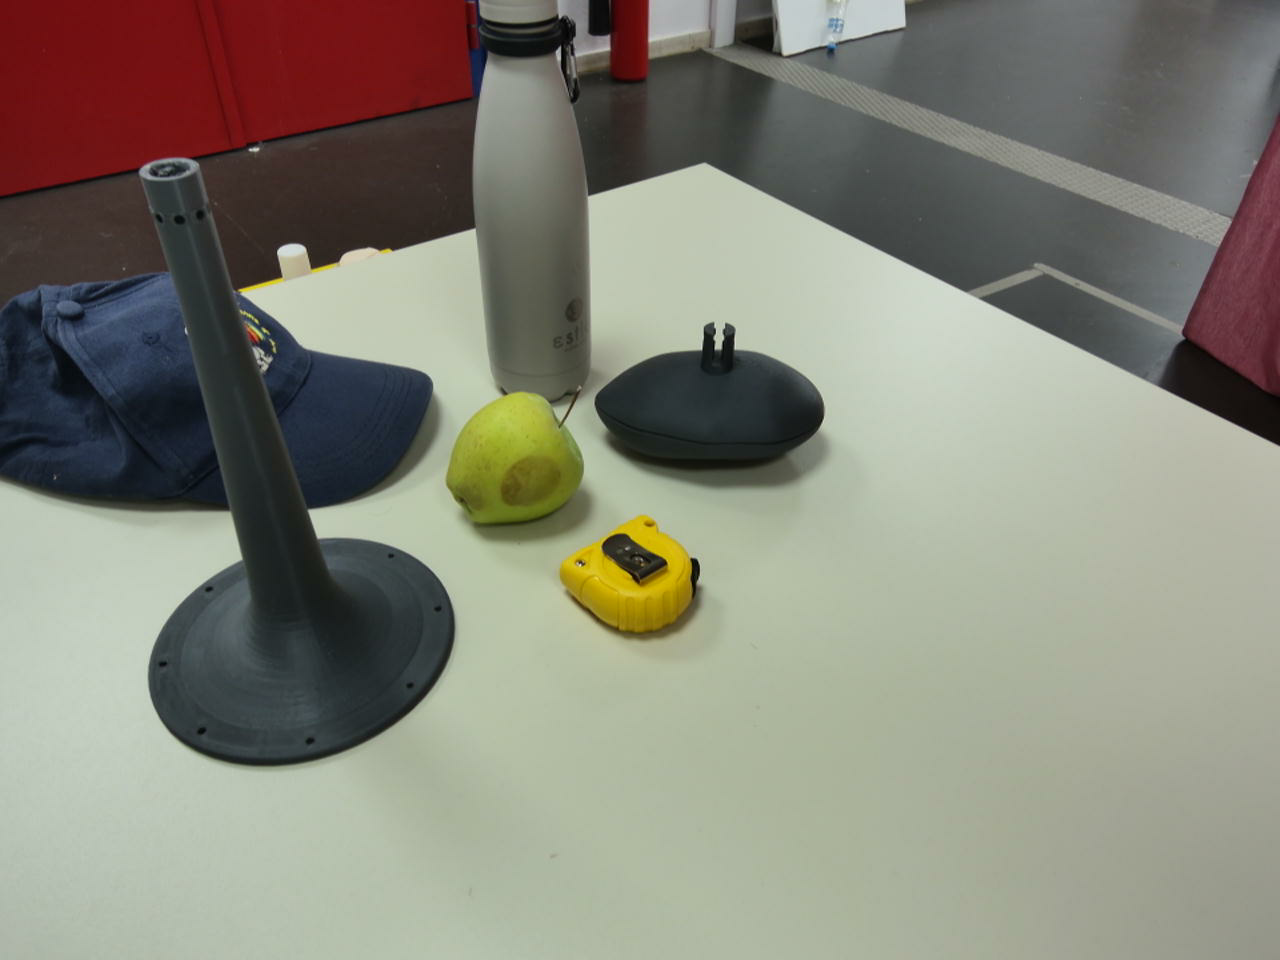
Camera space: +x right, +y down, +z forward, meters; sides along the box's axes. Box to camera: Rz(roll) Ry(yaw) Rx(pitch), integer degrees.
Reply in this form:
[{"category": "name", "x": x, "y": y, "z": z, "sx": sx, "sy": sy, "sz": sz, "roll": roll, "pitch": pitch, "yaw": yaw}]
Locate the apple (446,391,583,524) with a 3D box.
[{"category": "apple", "x": -0.071, "y": -0.013, "z": 0.579, "sx": 0.077, "sy": 0.075, "sz": 0.072, "roll": 6, "pitch": 38, "yaw": 5}]
